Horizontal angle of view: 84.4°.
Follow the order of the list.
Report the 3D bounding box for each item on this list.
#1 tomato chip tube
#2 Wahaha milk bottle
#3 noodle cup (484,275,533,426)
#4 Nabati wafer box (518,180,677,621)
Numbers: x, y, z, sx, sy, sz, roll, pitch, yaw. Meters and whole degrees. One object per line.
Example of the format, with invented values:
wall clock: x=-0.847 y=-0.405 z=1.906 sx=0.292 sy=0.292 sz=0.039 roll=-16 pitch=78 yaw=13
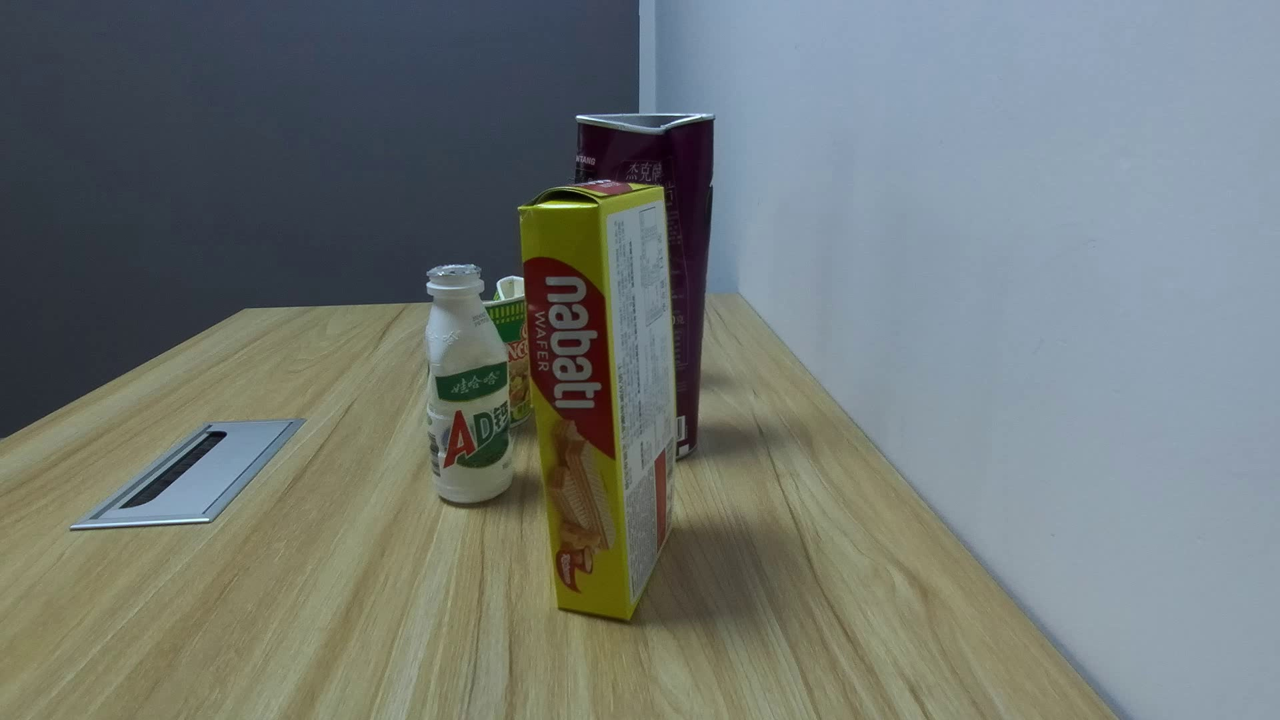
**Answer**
tomato chip tube: x=0.006 y=-0.048 z=0.496 sx=0.077 sy=0.235 sz=0.076 roll=7 pitch=19 yaw=23
Wahaha milk bottle: x=-0.110 y=0.015 z=0.450 sx=0.055 sy=0.149 sz=0.055 roll=-2 pitch=17 yaw=1
noodle cup: x=-0.100 y=0.004 z=0.493 sx=0.075 sy=0.122 sz=0.083 roll=15 pitch=20 yaw=36
Nabati wafer box: x=-0.012 y=0.016 z=0.364 sx=0.042 sy=0.204 sz=0.107 roll=3 pitch=17 yaw=19
